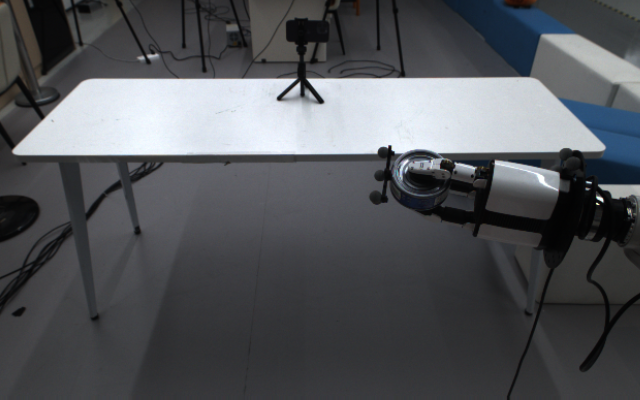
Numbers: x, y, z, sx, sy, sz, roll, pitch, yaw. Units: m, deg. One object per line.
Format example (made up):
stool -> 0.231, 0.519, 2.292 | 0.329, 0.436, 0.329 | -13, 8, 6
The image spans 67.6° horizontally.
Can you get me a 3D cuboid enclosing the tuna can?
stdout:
tuna can -> 0.145, -0.032, 0.689 | 0.085, 0.034, 0.085 | -2, 57, 3
